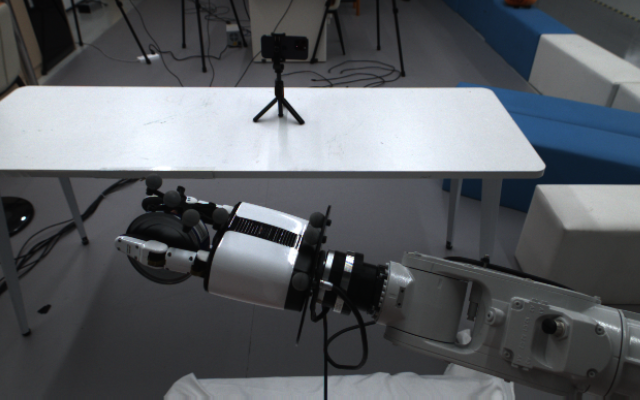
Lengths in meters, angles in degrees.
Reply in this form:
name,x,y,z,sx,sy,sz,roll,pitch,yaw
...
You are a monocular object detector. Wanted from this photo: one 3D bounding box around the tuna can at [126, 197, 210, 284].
name,x,y,z,sx,sy,sz,roll,pitch,yaw
tuna can,-0.164,0.047,0.534,0.085,0.085,0.034,7,17,7
